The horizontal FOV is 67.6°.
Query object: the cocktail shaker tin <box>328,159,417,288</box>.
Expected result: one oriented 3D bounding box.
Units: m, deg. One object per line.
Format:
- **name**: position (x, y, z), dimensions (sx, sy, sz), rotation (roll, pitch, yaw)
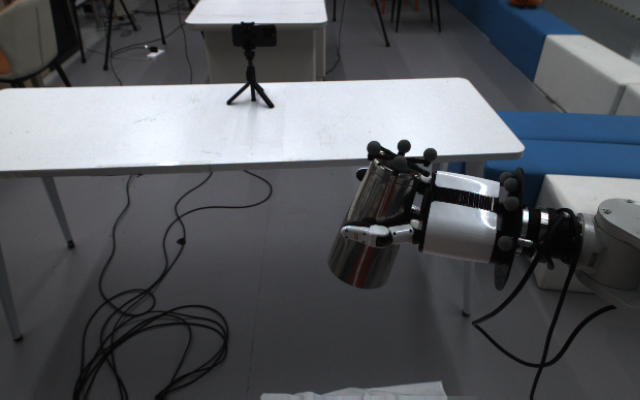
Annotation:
- **cocktail shaker tin**: position (0.079, 0.024, 0.655), dimensions (0.093, 0.170, 0.093), rotation (12, 29, -7)
